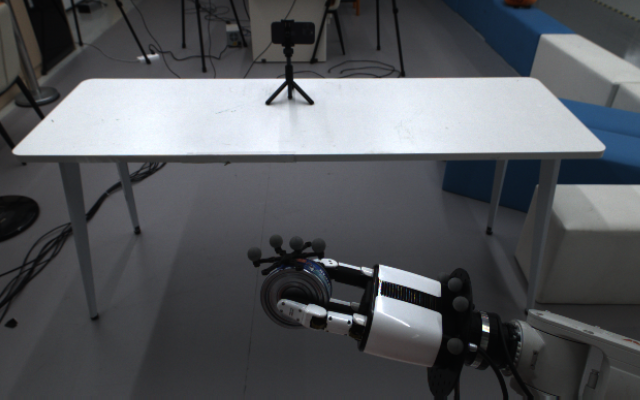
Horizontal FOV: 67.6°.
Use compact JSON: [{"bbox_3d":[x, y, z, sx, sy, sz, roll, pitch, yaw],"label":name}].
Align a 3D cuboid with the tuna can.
[{"bbox_3d":[-0.025,0.121,0.591,0.085,0.085,0.034,6,18,5],"label":"tuna can"}]
